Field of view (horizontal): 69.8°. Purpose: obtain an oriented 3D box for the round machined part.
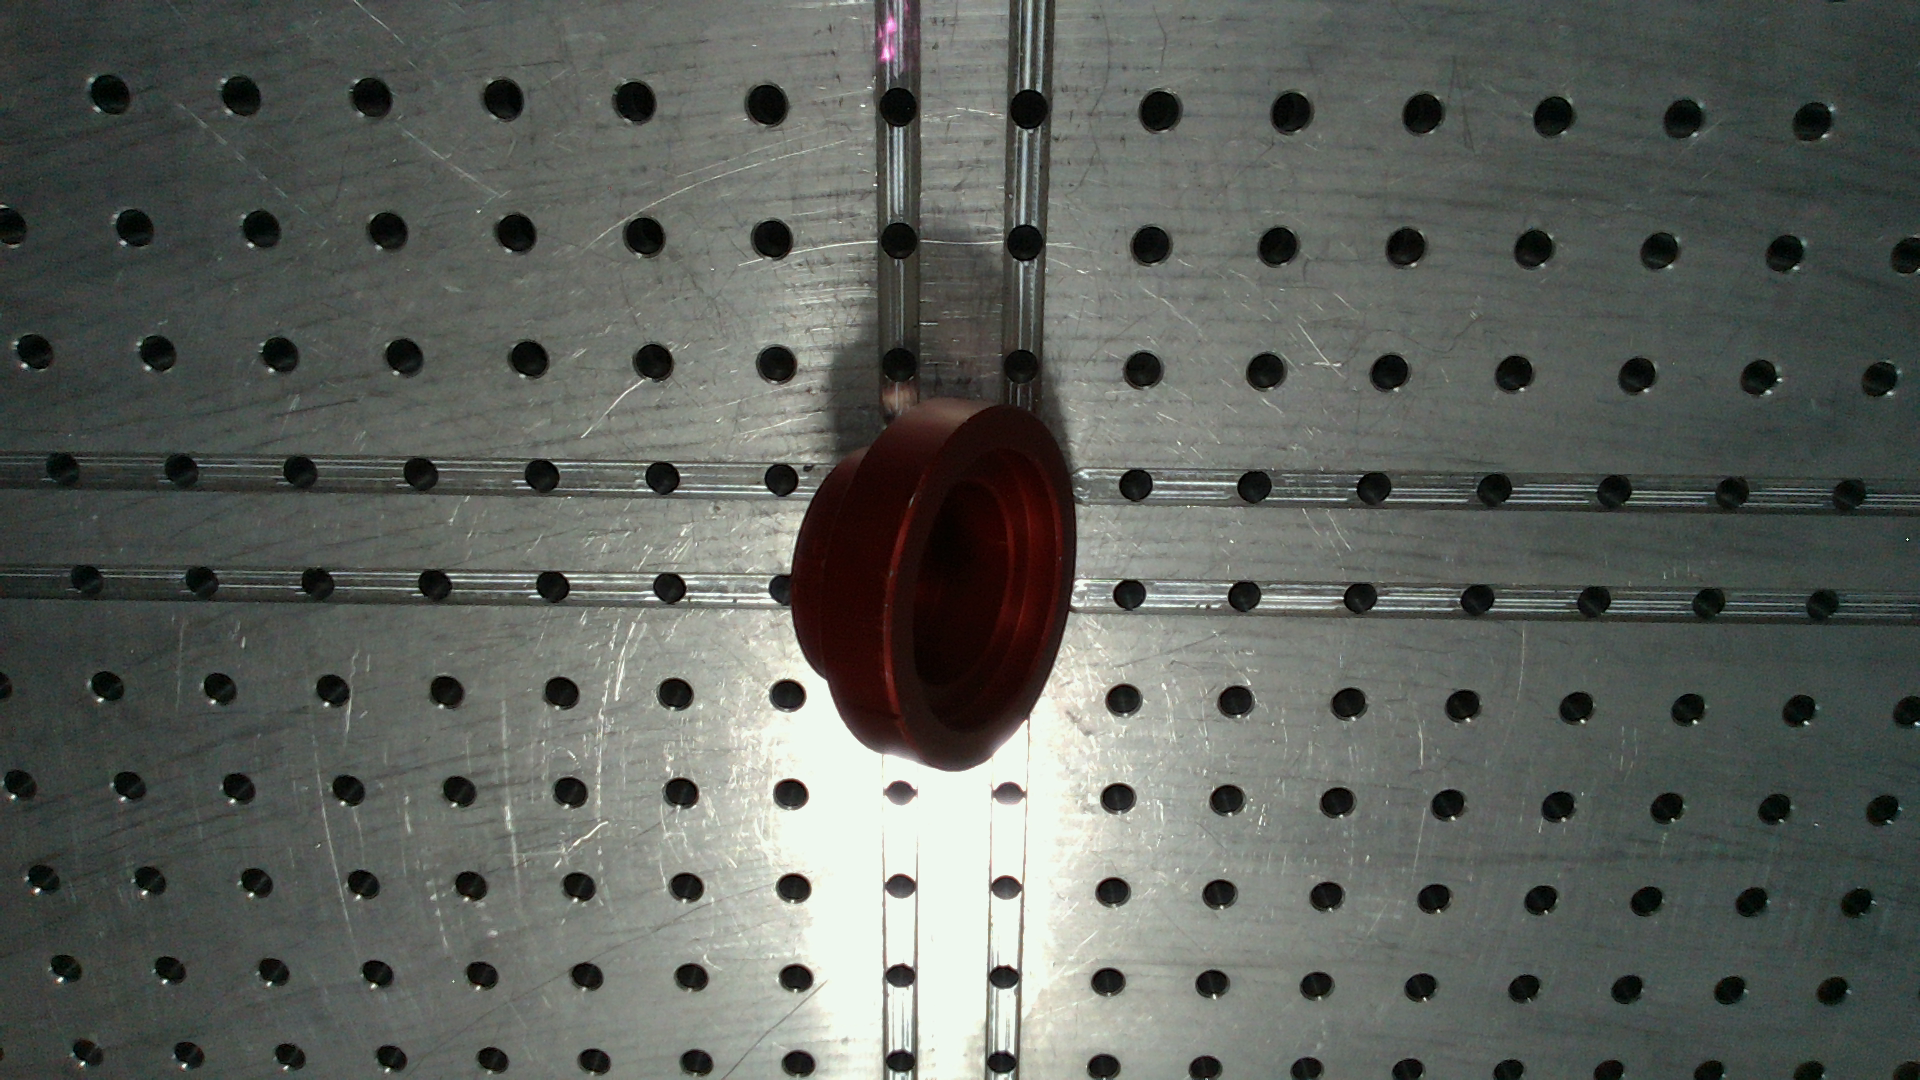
[{"bbox_3d":[-0.009,0.010,0.371,0.042,0.098,0.098,10,114,30],"label":"round machined part"}]
